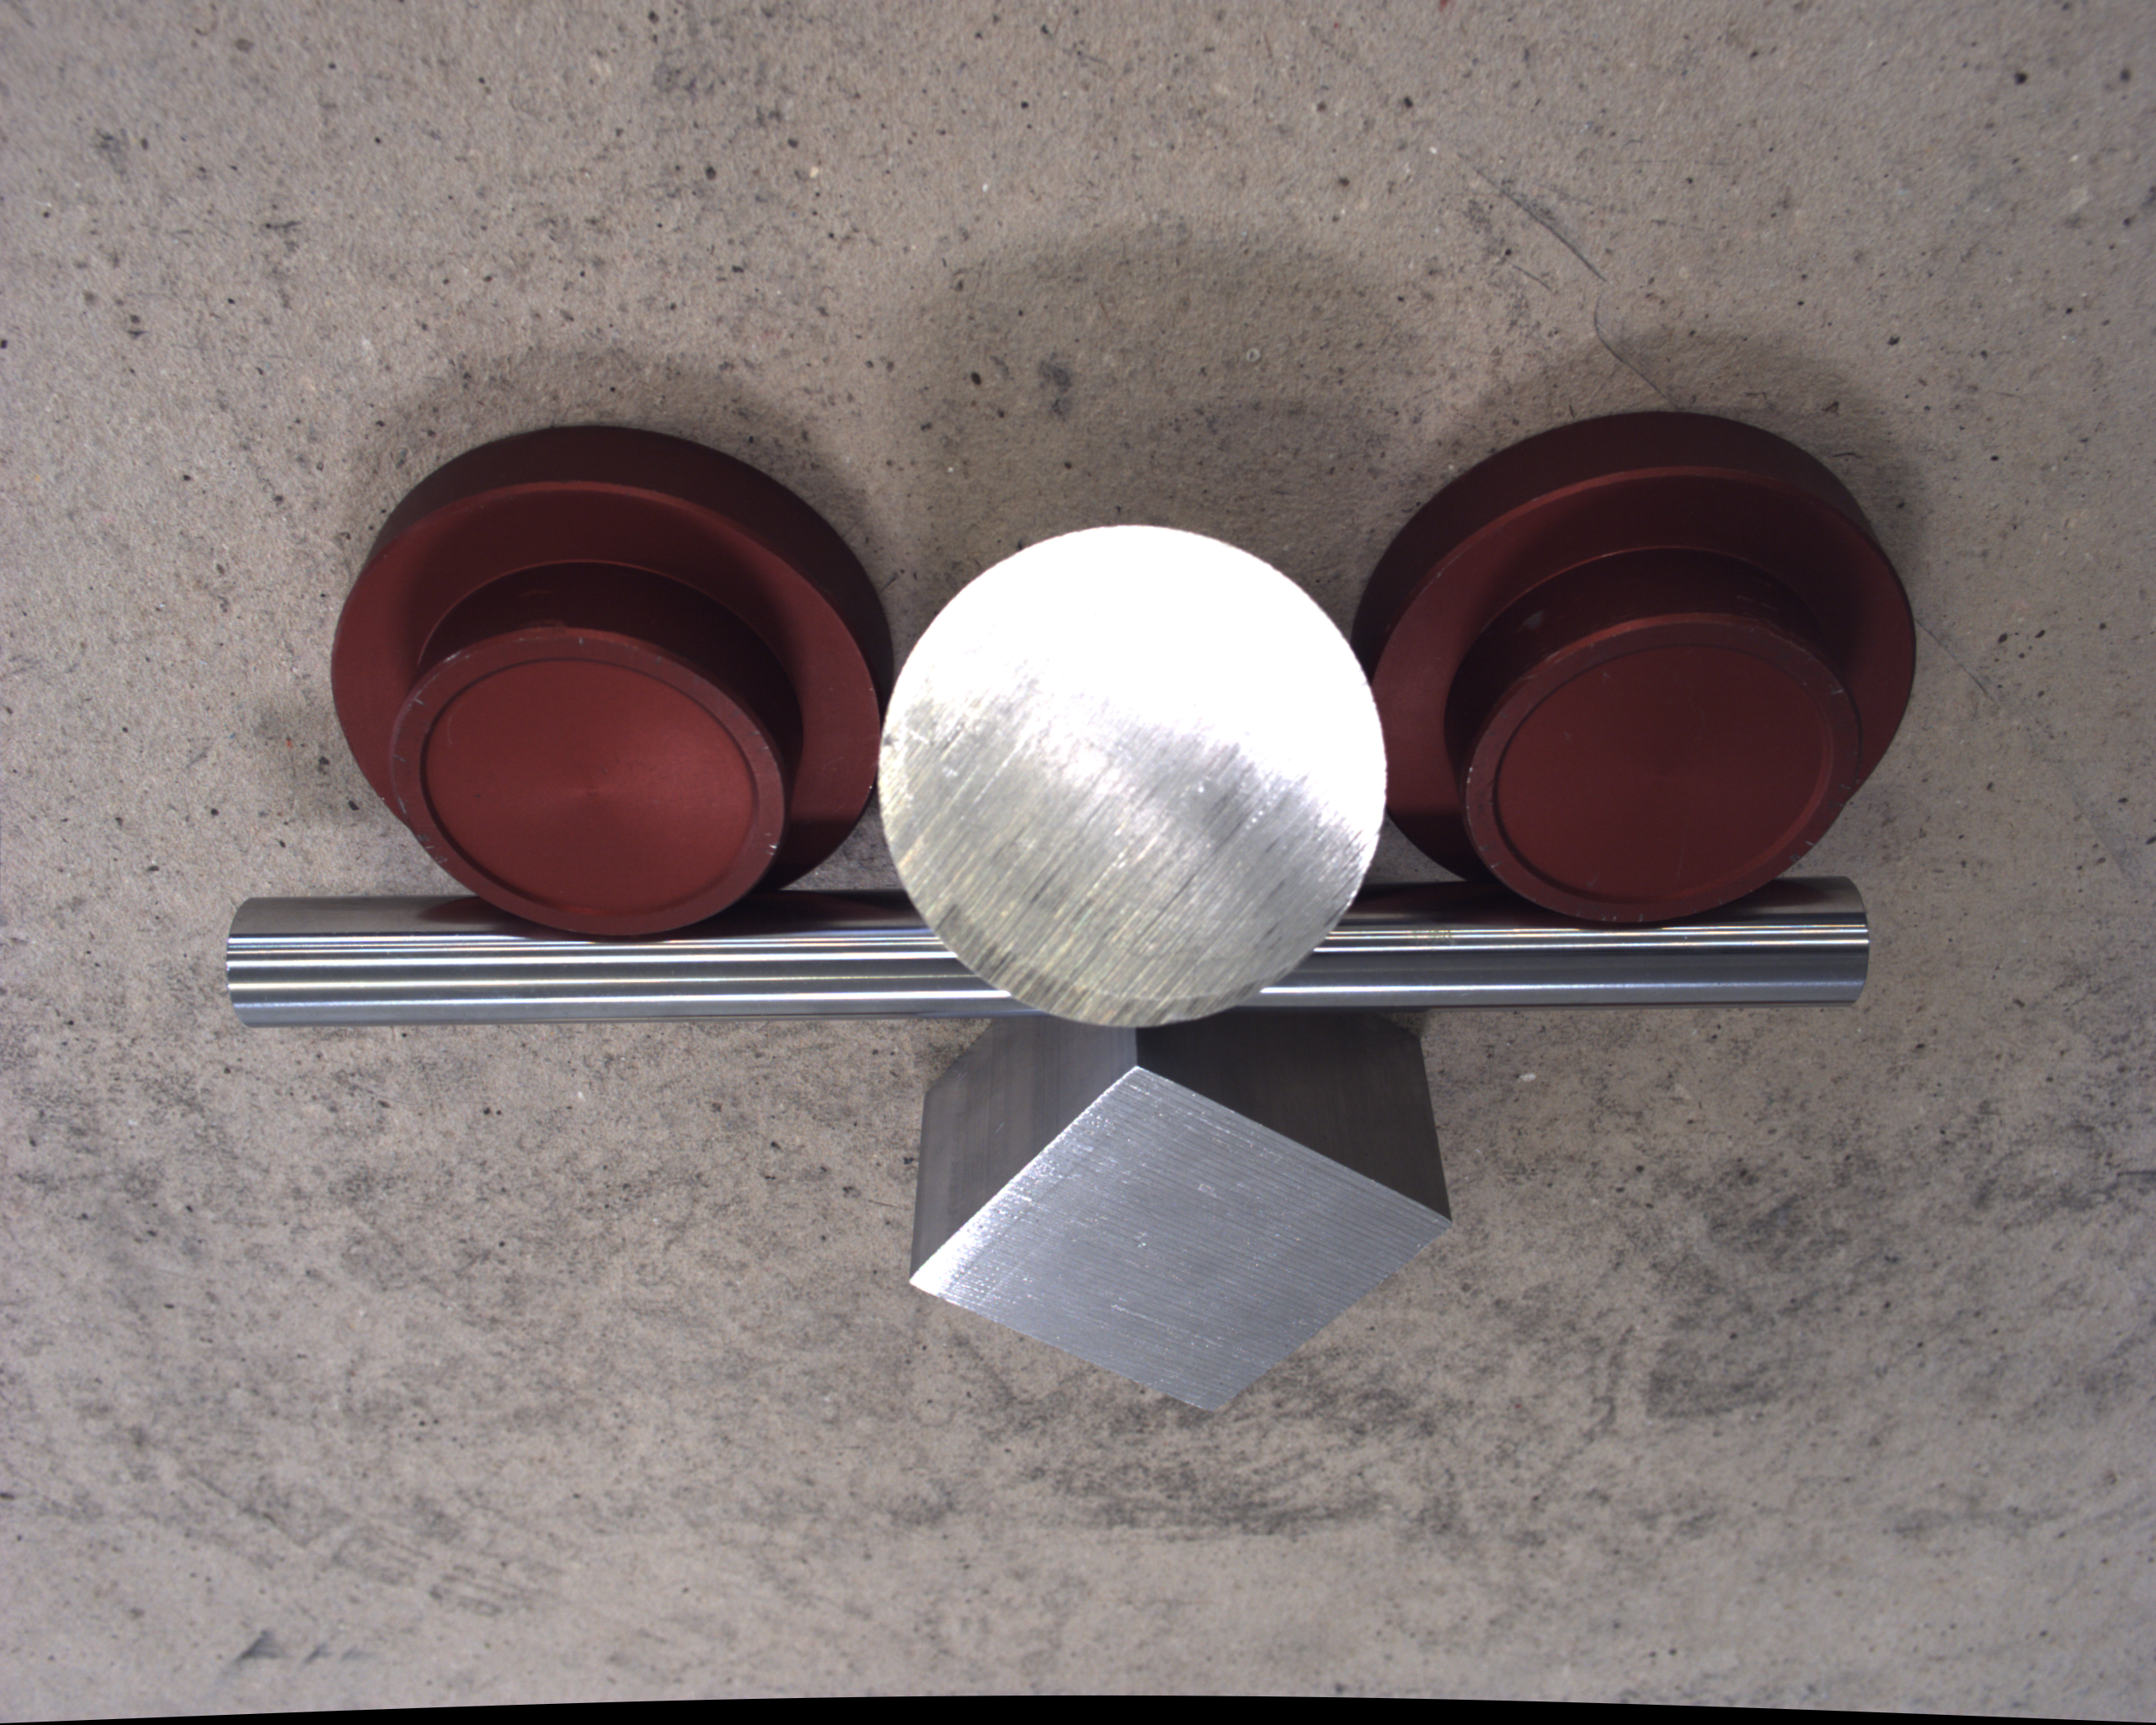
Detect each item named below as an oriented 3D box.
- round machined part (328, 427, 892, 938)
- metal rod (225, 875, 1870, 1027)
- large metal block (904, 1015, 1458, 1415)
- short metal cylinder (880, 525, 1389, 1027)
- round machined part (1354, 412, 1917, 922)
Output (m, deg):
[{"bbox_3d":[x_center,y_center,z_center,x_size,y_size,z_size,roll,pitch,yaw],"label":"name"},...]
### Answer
[{"bbox_3d":[-0.084,-0.025,0.375,0.099,0.042,0.097,0,130,0],"label":"round machined part"},{"bbox_3d":[-0.006,0.017,0.395,0.302,0.025,0.025,-1,130,0],"label":"metal rod"},{"bbox_3d":[0.020,0.064,0.444,0.080,0.050,0.080,28,125,-22],"label":"large metal block"},{"bbox_3d":[0.009,-0.015,0.355,0.080,0.050,0.079,0,95,0],"label":"short metal cylinder"},{"bbox_3d":[0.101,-0.028,0.375,0.099,0.042,0.097,0,130,0],"label":"round machined part"}]
